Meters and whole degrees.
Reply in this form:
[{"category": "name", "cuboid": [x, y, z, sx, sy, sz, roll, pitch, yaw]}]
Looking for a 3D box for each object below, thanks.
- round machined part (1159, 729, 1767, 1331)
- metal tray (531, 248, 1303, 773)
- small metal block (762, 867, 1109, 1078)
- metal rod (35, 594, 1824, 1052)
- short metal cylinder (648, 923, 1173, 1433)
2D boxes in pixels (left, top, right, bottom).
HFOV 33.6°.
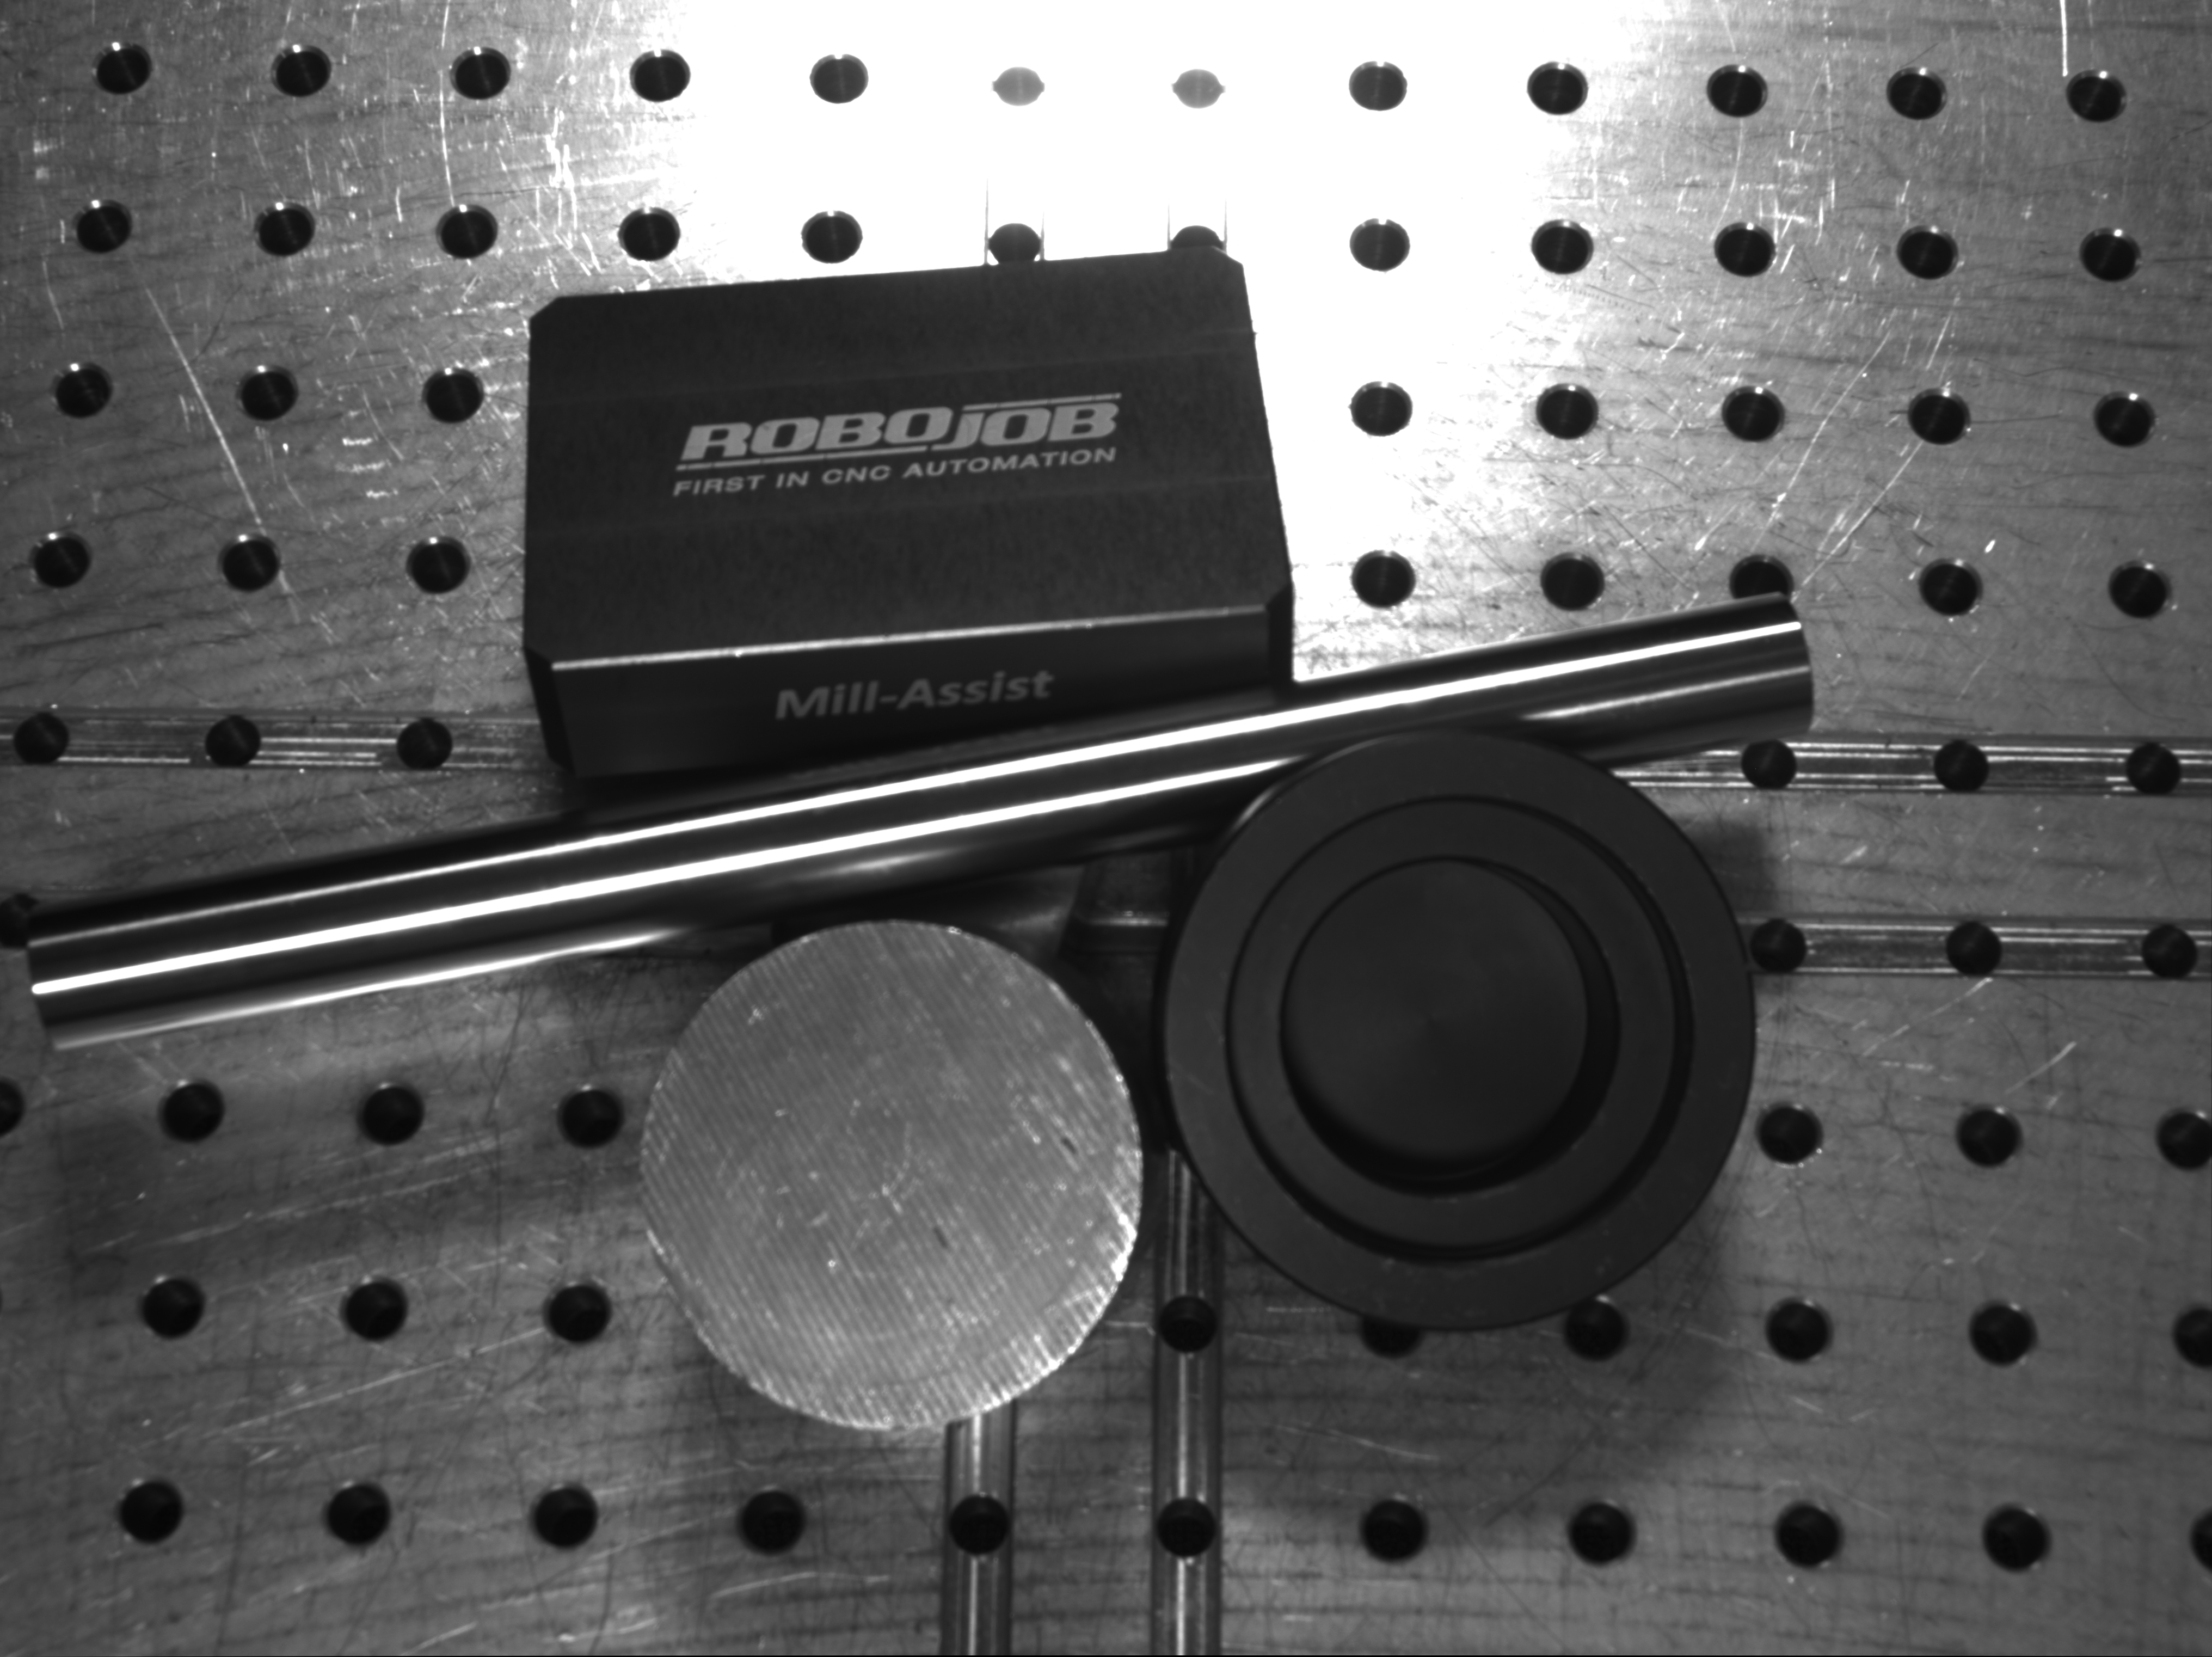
[{"category": "round machined part", "cuboid": [0.058, 0.032, 0.614, 0.098, 0.042, 0.098, 0, 92, -4]}, {"category": "metal tray", "cuboid": [-0.034, -0.058, 0.651, 0.130, 0.030, 0.090, -4, 51, -2]}, {"category": "small metal block", "cuboid": [-0.030, 0.018, 0.650, 0.050, 0.025, 0.050, 17, 71, 6]}, {"category": "metal rod", "cuboid": [-0.028, -0.002, 0.620, 0.300, 0.025, 0.025, -10, 70, -4]}, {"category": "short metal cylinder", "cuboid": [-0.030, 0.056, 0.601, 0.080, 0.050, 0.080, 0, 88, 5]}]
